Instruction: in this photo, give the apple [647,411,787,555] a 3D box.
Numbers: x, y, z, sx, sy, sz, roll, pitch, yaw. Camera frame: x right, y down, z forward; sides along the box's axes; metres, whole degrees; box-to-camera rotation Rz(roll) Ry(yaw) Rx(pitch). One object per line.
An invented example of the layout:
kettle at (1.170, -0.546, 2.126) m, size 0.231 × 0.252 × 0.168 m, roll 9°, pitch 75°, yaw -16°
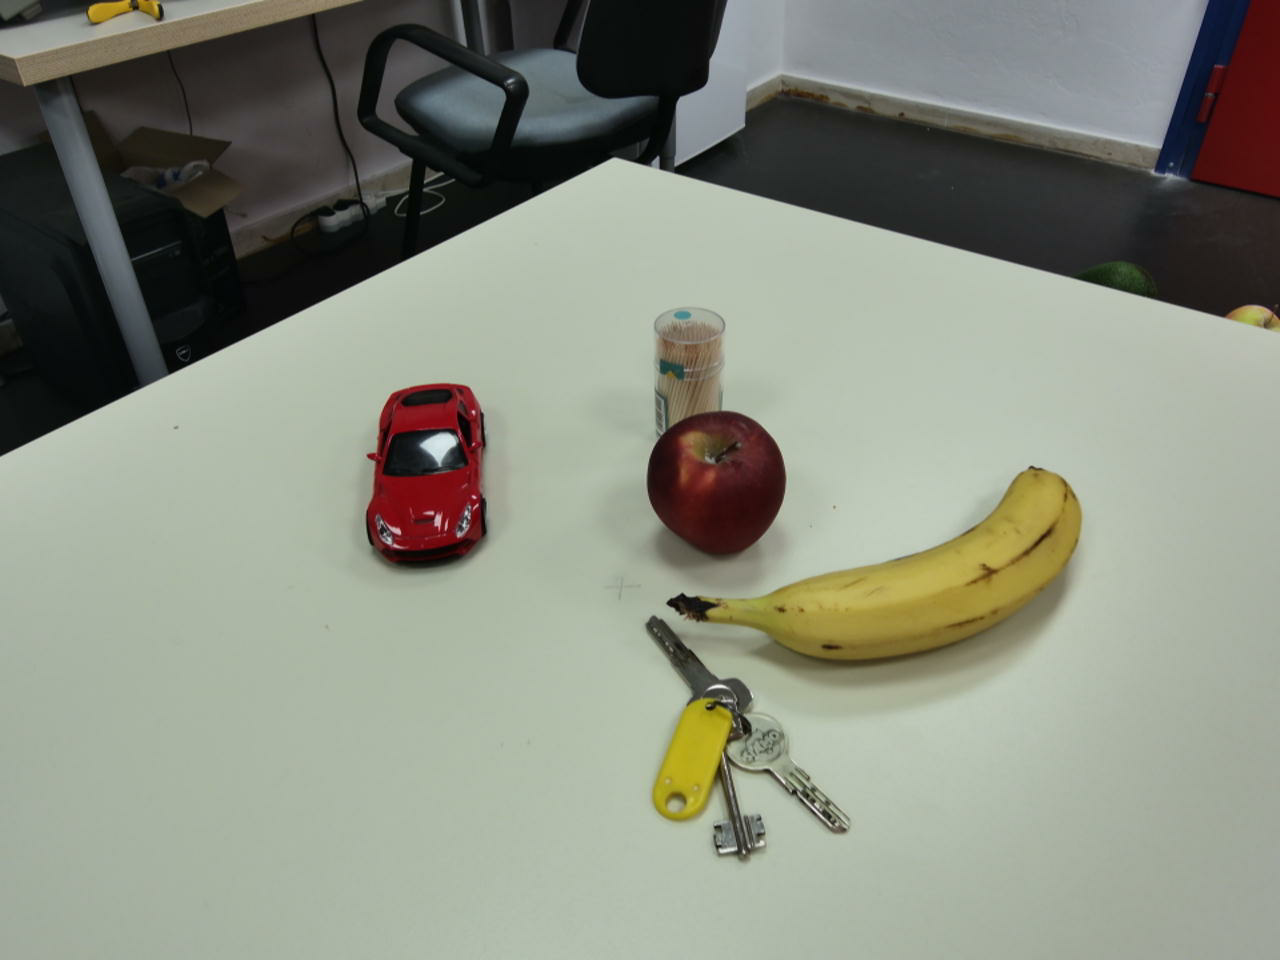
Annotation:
apple at (0.038, 0.002, 0.497) m, size 0.070 × 0.072 × 0.070 m, roll 1°, pitch 37°, yaw 0°
